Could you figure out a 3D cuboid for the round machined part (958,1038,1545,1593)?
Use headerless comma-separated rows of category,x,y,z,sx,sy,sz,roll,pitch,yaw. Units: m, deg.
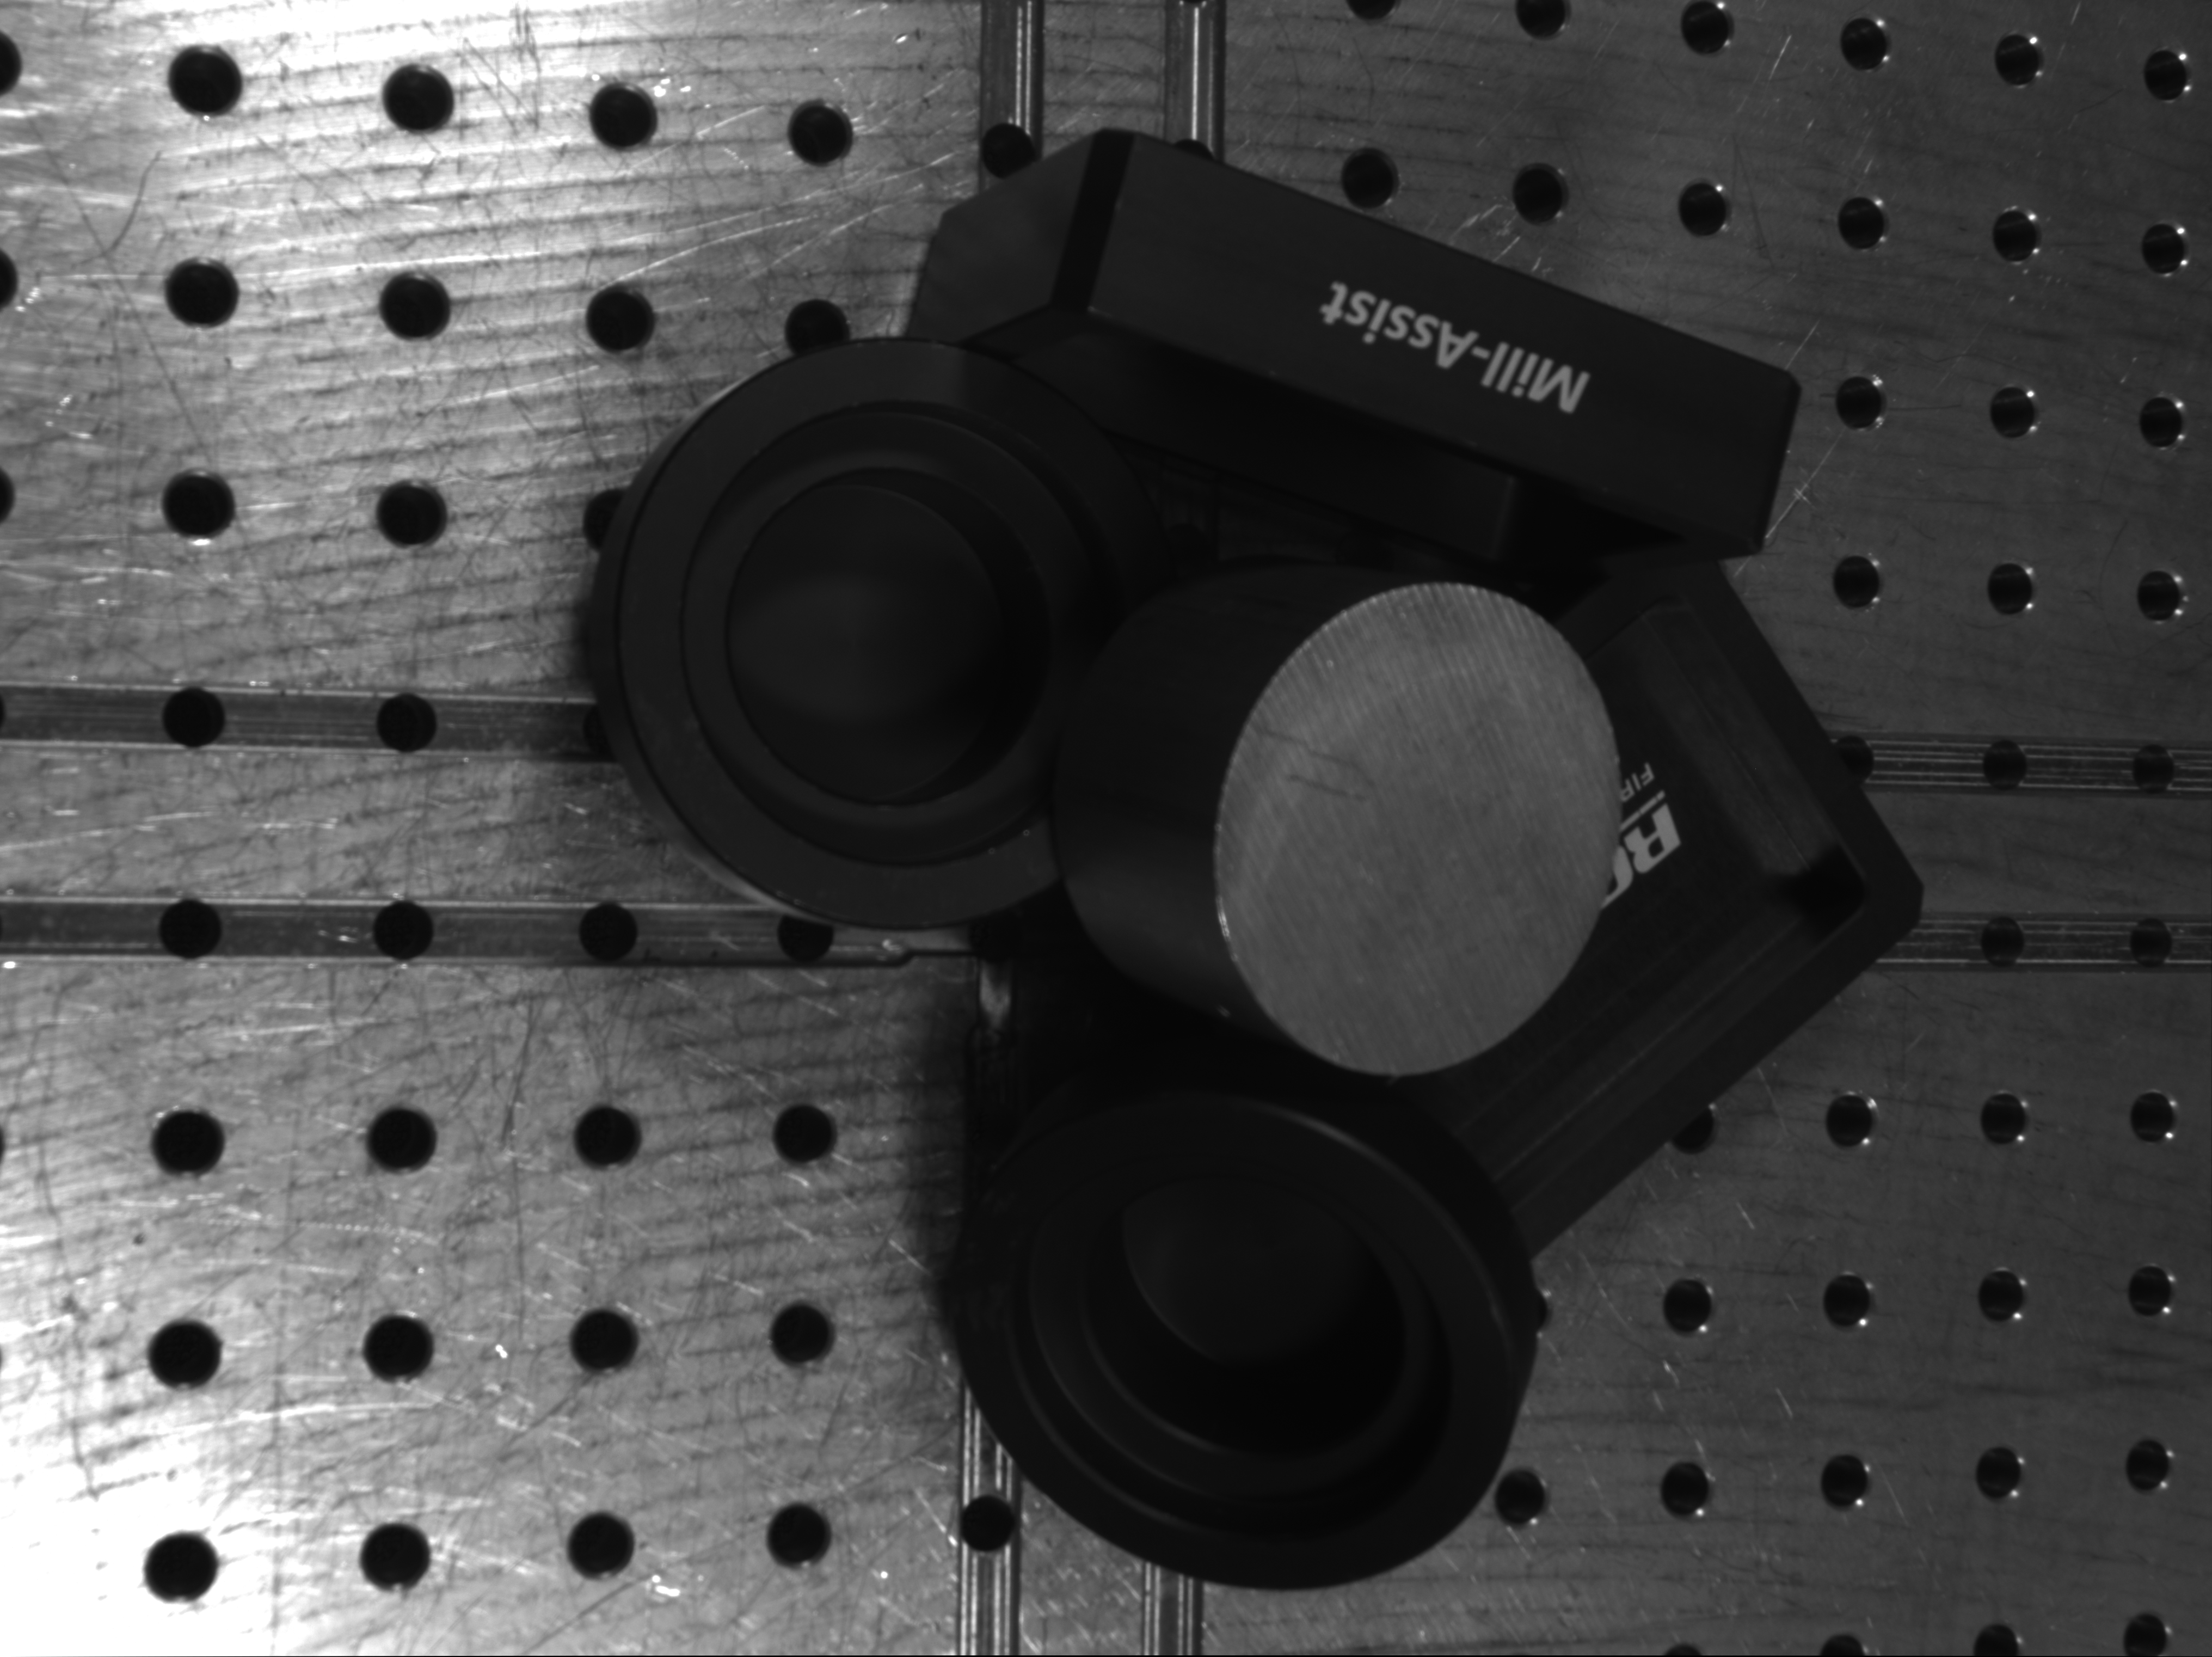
round machined part,0.027,0.079,0.628,0.098,0.042,0.098,7,117,14

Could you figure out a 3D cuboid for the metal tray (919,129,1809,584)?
metal tray,0.041,-0.077,0.626,0.130,0.090,0.030,16,84,-19

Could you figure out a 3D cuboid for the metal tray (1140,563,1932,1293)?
metal tray,0.078,0.018,0.671,0.130,0.030,0.090,-38,102,-16

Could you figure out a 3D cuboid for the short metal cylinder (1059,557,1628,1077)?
short metal cylinder,0.039,-0.003,0.607,0.080,0.050,0.080,-6,102,-31

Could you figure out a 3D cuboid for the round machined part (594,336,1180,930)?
round machined part,-0.039,-0.032,0.623,0.098,0.042,0.098,0,90,-20
